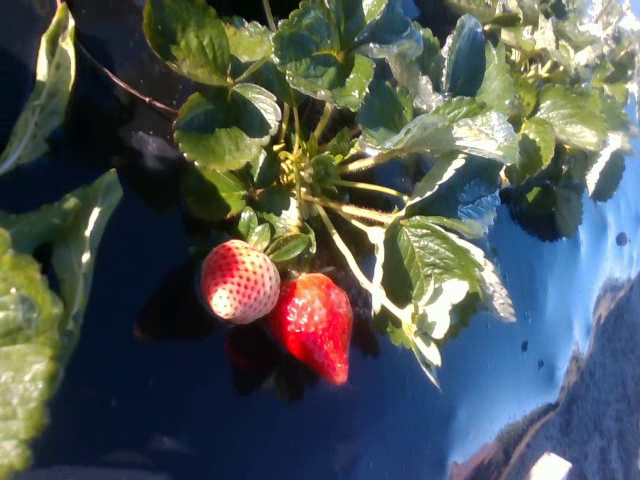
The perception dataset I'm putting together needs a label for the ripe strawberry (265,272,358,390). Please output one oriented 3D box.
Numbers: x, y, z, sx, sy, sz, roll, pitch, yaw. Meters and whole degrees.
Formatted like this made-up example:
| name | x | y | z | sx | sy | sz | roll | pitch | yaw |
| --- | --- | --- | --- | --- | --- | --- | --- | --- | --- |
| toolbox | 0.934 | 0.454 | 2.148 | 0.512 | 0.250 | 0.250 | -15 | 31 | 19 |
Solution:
| name | x | y | z | sx | sy | sz | roll | pitch | yaw |
| --- | --- | --- | --- | --- | --- | --- | --- | --- | --- |
| ripe strawberry | 0.003 | 0.037 | 0.244 | 0.040 | 0.038 | 0.056 | -11 | 35 | -22 |
